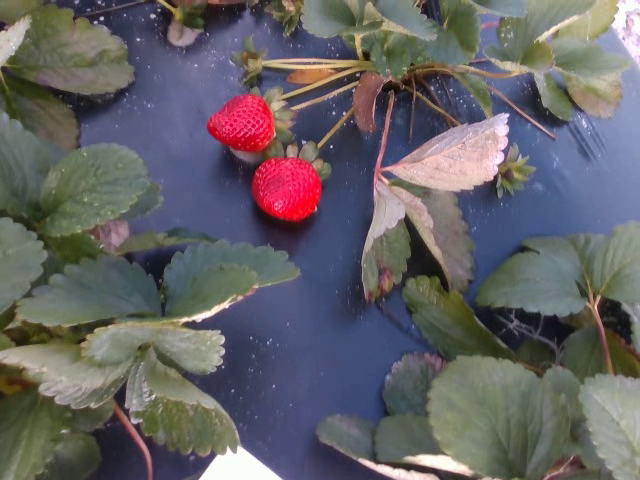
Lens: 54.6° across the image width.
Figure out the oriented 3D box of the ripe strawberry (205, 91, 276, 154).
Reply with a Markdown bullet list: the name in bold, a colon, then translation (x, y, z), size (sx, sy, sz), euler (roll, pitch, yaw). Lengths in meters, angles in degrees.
- **ripe strawberry**: translation (-0.059, -0.084, 0.444), size (0.055, 0.049, 0.041), euler (-28, -22, -39)

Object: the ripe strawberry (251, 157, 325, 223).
- **ripe strawberry**: translation (-0.026, -0.037, 0.418), size (0.057, 0.051, 0.064), euler (16, 34, 3)
